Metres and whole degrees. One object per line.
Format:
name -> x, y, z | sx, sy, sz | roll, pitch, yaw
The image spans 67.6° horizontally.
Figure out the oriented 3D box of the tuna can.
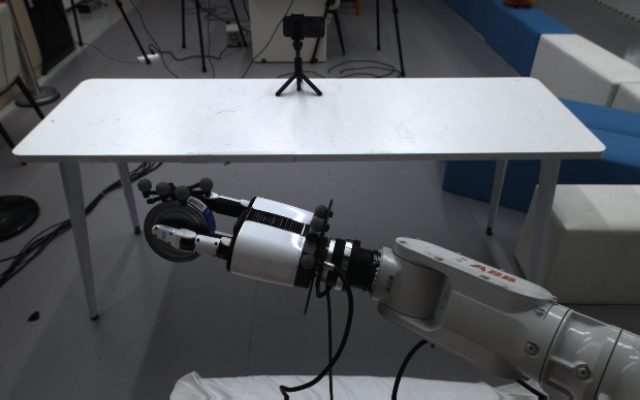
tuna can -> -0.177, 0.038, 0.632 | 0.085, 0.085, 0.034 | 4, 18, 2
